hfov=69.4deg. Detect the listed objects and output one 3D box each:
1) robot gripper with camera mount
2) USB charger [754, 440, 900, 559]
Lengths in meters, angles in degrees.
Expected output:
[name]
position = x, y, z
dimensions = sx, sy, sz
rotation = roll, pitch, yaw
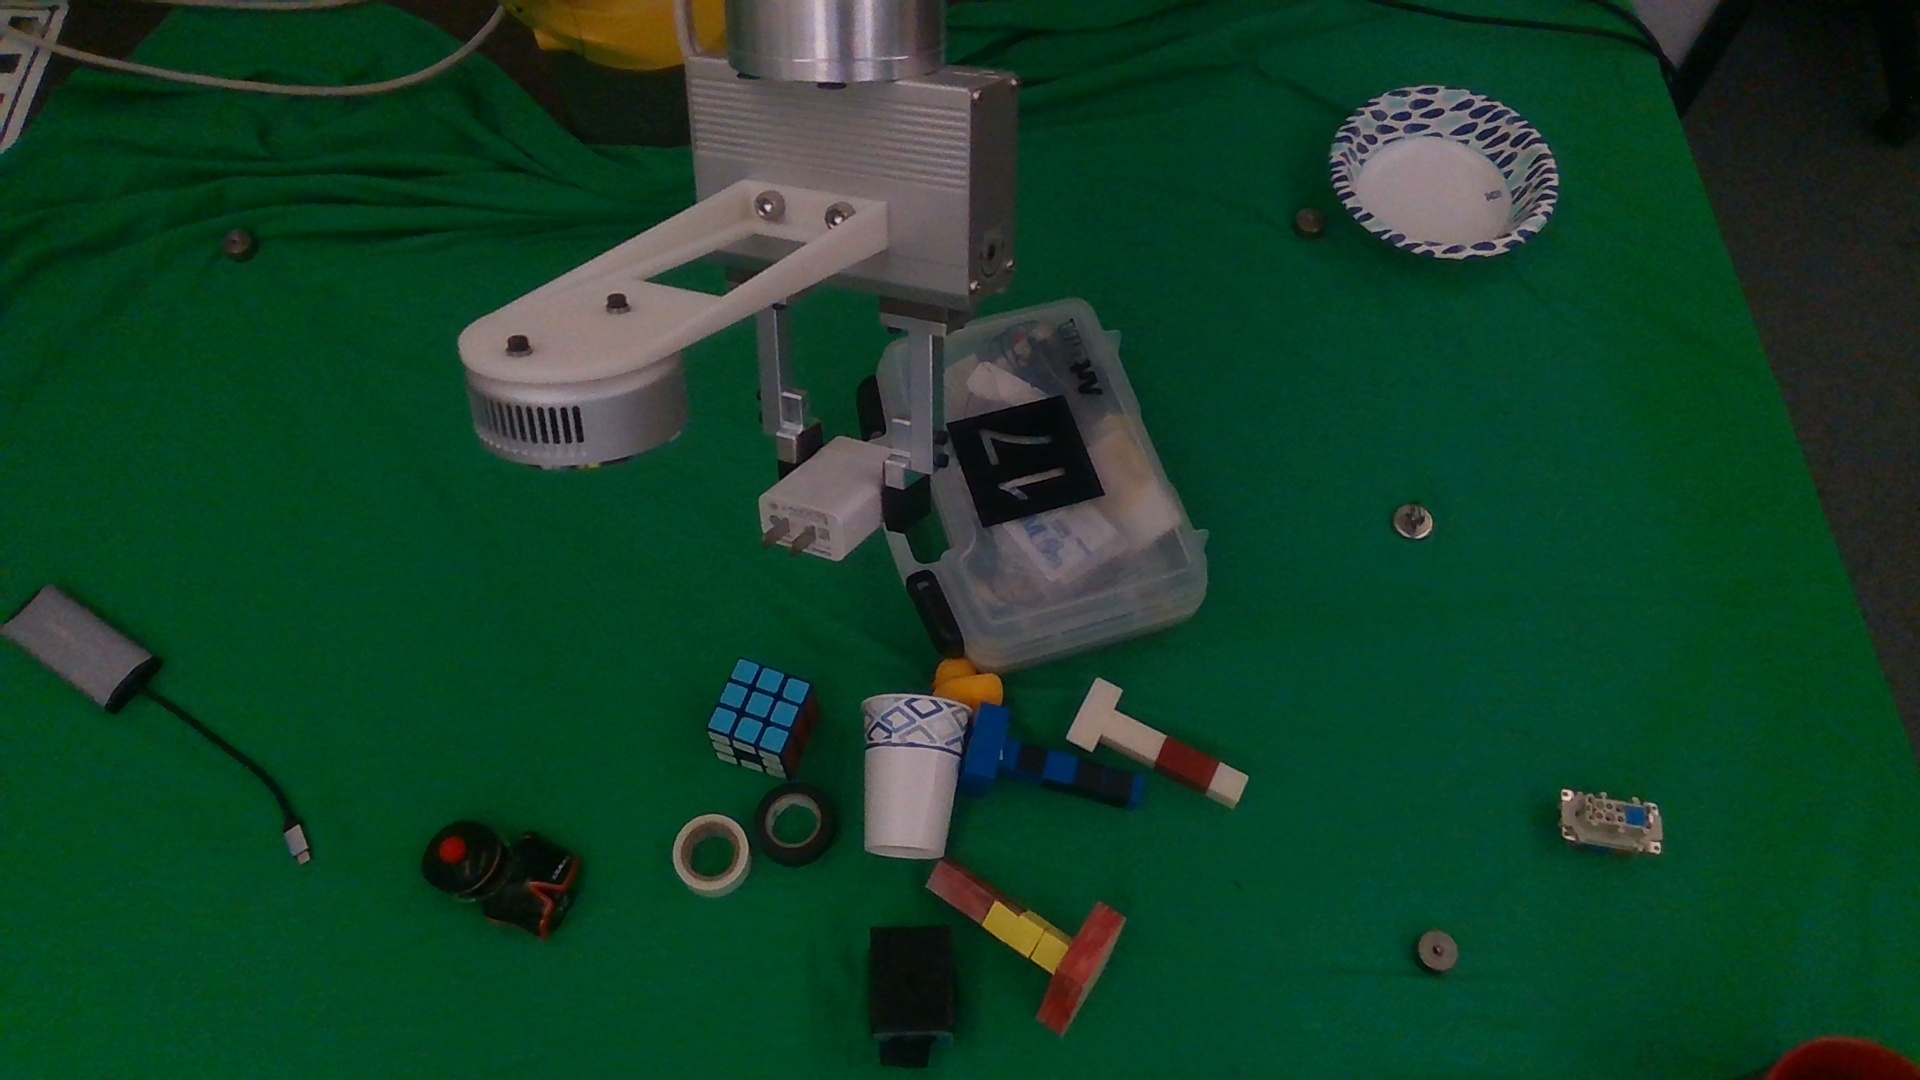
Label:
[robot gripper with camera mount]
position = -0.082, -0.055, 0.484
dimensions = 0.119, 0.158, 0.193
rotation = 19, 33, 24
[USB charger]
position = -0.057, -0.015, 0.565
dimensions = 0.045, 0.029, 0.075
rotation = 15, 28, 10
